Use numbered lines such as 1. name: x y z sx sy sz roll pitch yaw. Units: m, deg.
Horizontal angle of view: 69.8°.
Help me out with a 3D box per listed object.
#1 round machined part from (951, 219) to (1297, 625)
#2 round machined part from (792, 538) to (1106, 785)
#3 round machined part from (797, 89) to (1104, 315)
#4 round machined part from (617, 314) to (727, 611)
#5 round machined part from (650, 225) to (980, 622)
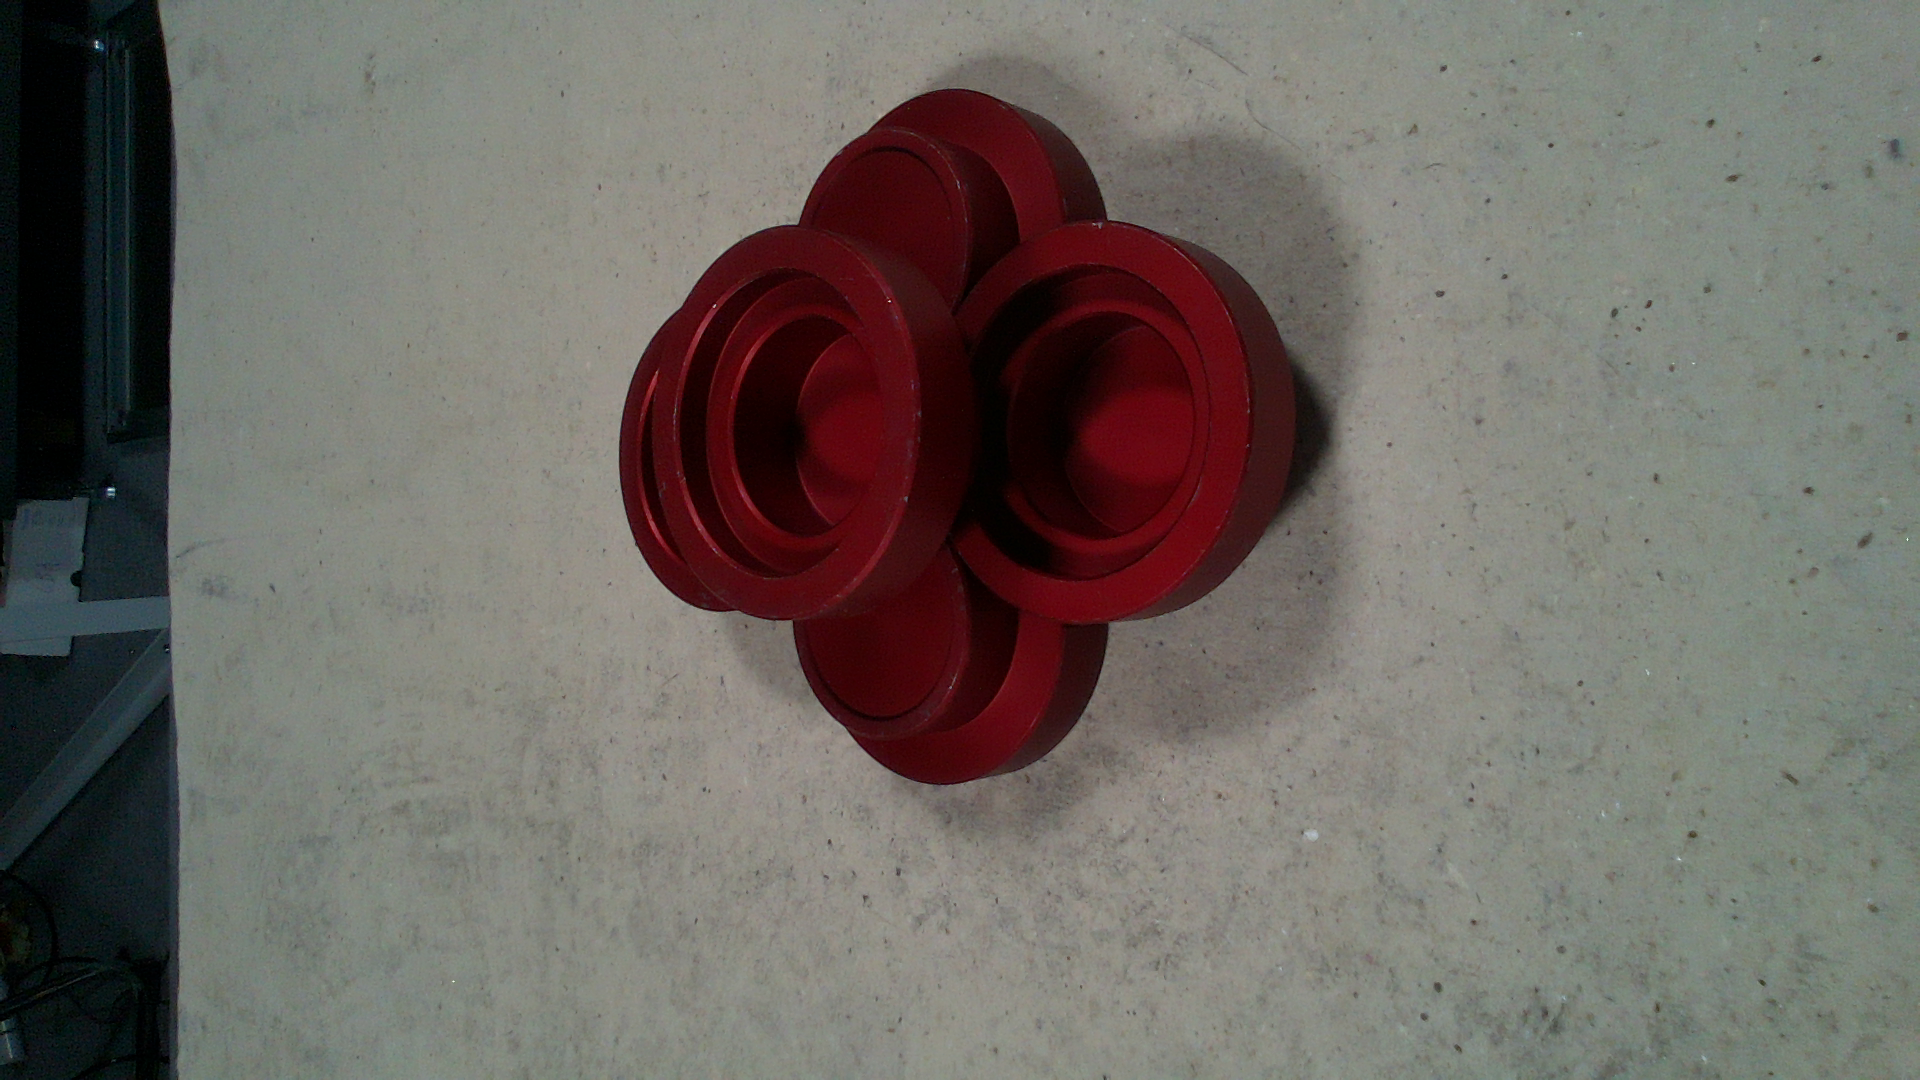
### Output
1. round machined part: 0.041 -0.029 0.349 0.098 0.042 0.098 0 90 40
2. round machined part: -0.010 0.021 0.392 0.098 0.042 0.098 0 90 40
3. round machined part: -0.010 -0.079 0.392 0.098 0.042 0.098 0 90 40
4. round machined part: -0.062 -0.027 0.436 0.098 0.042 0.098 0 90 40
5. round machined part: -0.034 -0.029 0.357 0.098 0.042 0.098 0 91 40
